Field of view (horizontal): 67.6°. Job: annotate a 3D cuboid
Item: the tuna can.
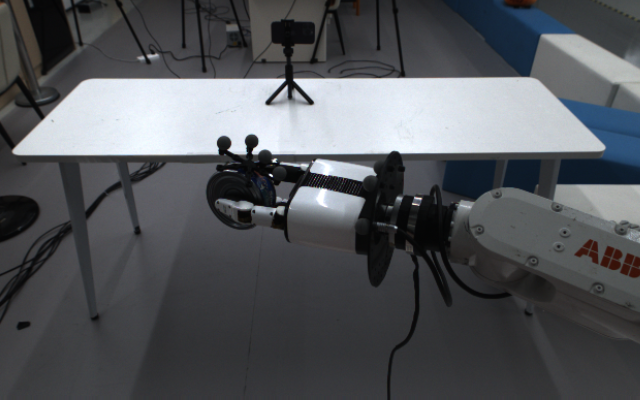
[{"bbox_3d":[-0.098,0.001,0.616,0.085,0.085,0.034,15,31,18],"label":"tuna can"}]
